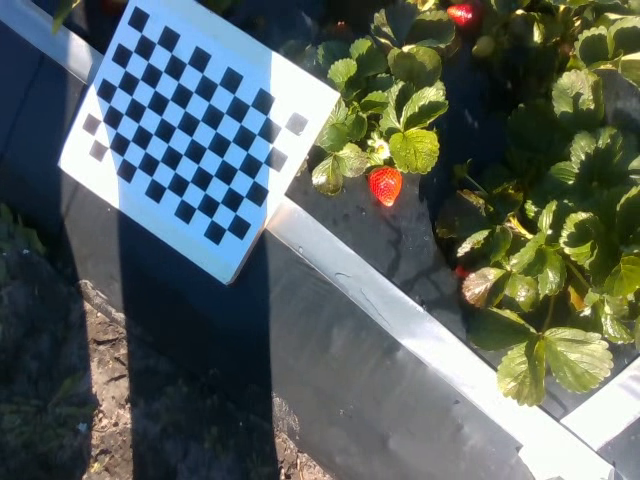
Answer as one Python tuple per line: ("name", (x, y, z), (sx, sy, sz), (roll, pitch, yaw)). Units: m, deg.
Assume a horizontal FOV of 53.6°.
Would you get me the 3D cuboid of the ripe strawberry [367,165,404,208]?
("ripe strawberry", (0.080, -0.065, 0.778), (0.048, 0.055, 0.029), (-13, 2, 20))
